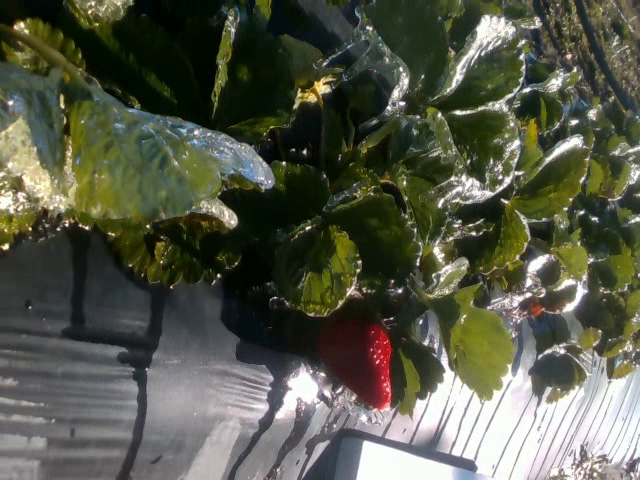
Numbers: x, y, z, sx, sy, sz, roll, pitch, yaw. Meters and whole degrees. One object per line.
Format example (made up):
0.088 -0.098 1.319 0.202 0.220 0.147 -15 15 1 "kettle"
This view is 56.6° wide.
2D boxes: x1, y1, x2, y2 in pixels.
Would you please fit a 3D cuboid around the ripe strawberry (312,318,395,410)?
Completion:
0.023 0.063 0.297 0.047 0.053 0.041 -42 -41 23 "ripe strawberry"
